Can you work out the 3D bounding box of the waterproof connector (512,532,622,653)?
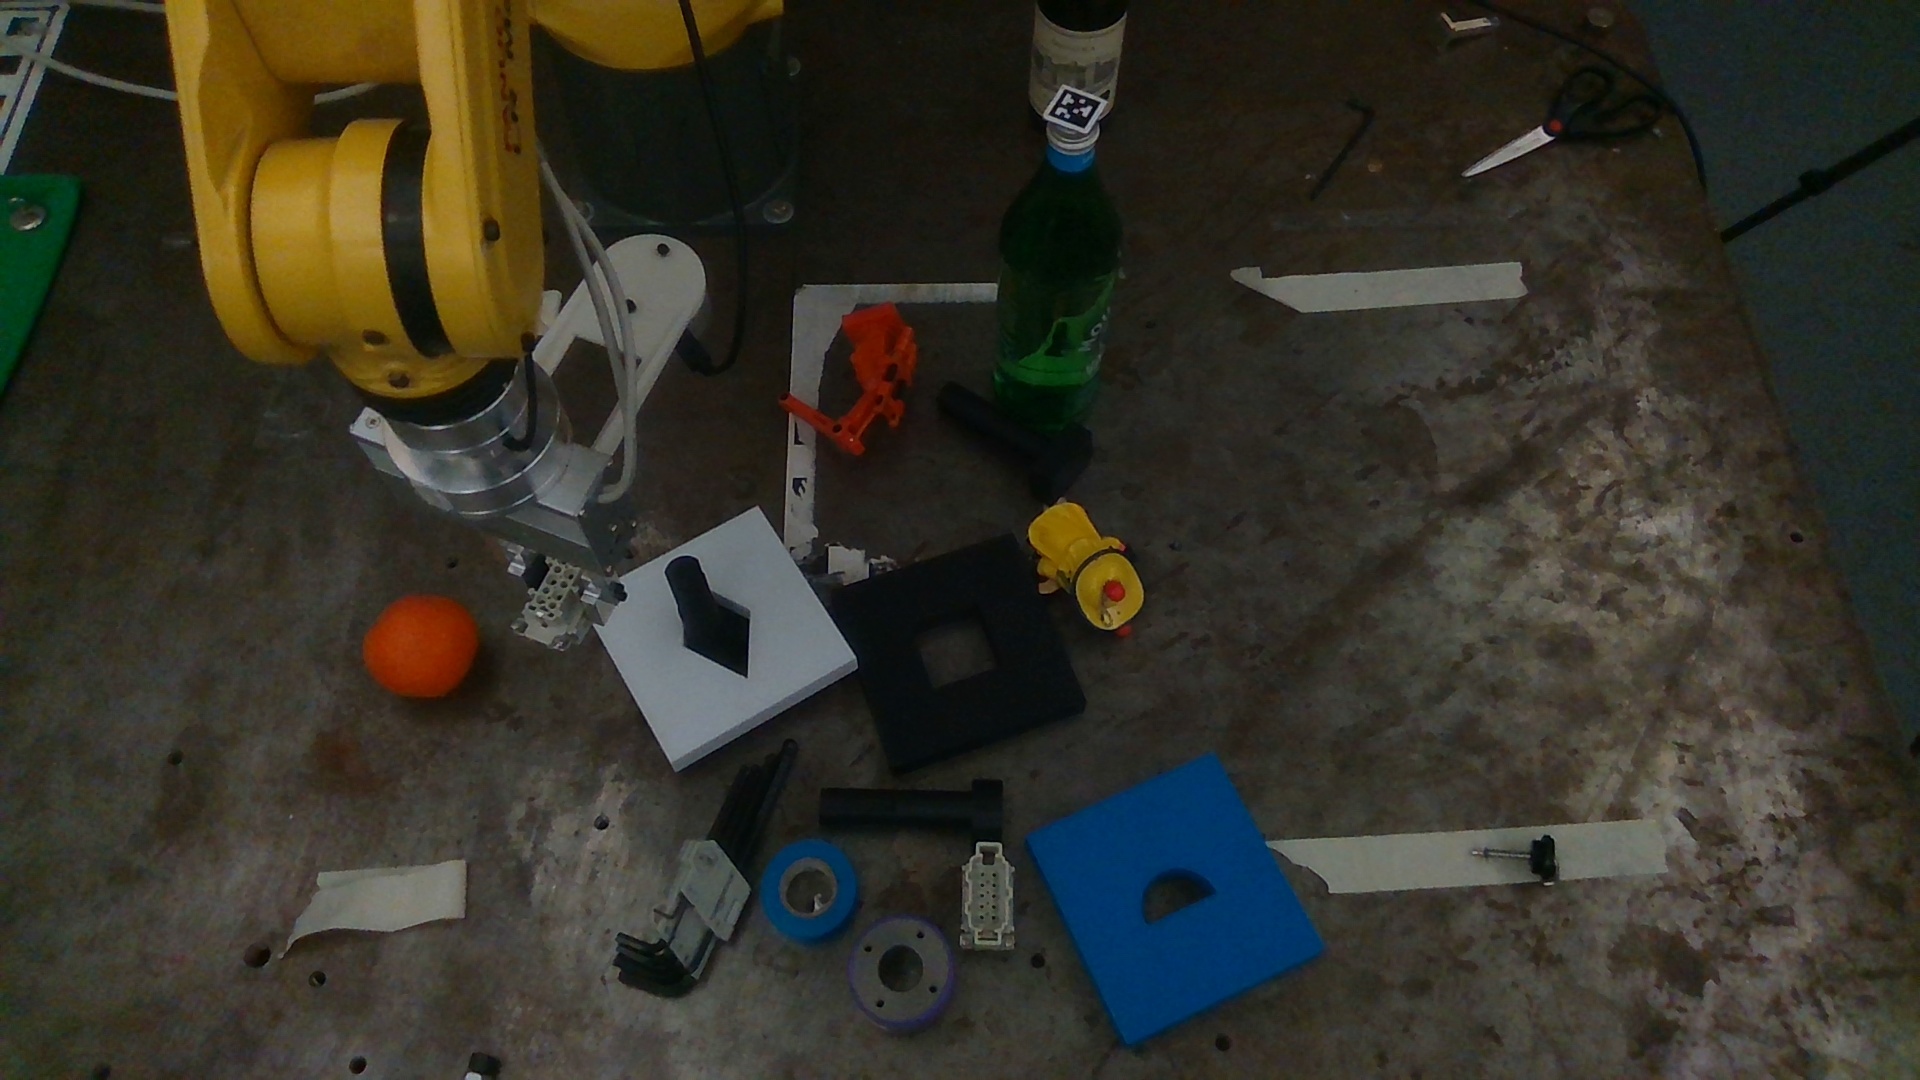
[{"bbox_3d":[-0.224,0.031,0.793,0.037,0.038,0.069,17,64,16],"label":"waterproof connector"}]
